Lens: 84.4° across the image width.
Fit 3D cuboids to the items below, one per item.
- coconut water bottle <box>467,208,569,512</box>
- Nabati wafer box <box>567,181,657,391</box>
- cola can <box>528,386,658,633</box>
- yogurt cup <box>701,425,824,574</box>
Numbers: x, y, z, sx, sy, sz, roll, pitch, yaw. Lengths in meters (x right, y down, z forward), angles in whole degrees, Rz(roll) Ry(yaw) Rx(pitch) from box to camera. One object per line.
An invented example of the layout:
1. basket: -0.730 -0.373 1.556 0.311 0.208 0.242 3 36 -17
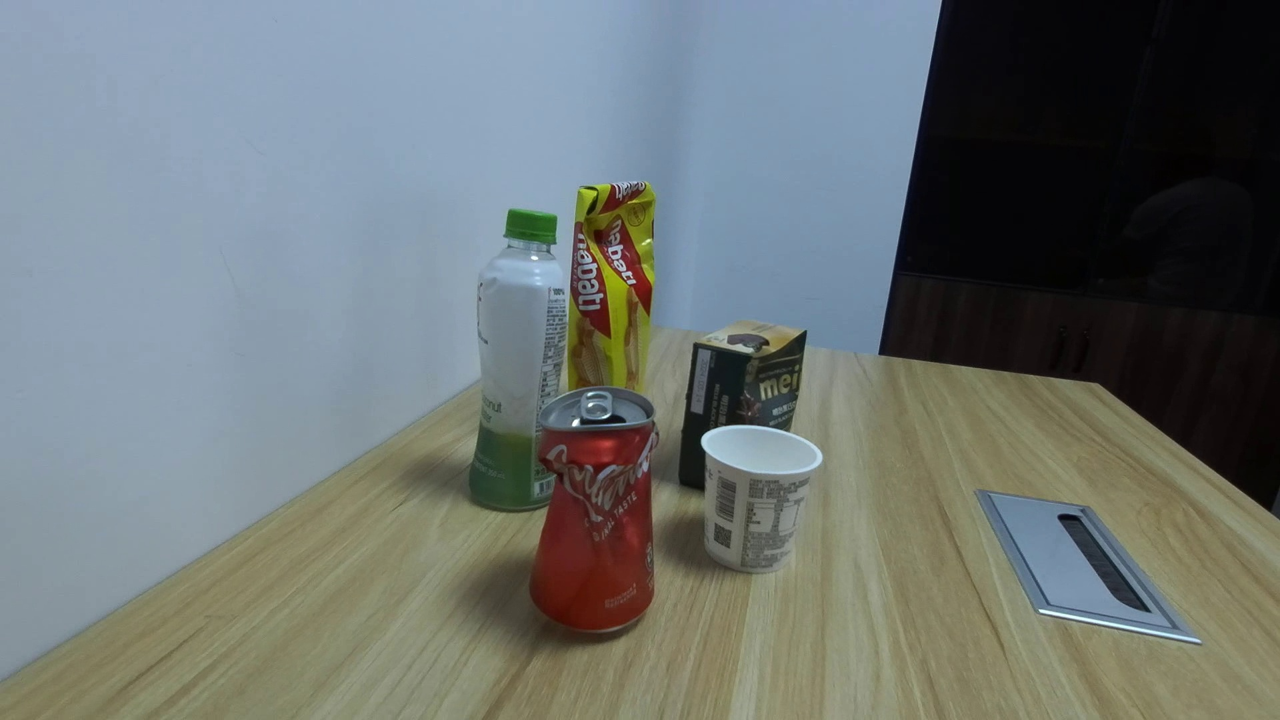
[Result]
1. coconut water bottle: -0.077 -0.001 0.457 0.069 0.187 0.069 4 14 -1
2. Nabati wafer box: -0.021 -0.040 0.582 0.042 0.205 0.113 8 17 16
3. cola can: -0.021 0.073 0.355 0.065 0.112 0.069 14 19 33
4. yogurt cup: 0.068 0.083 0.420 0.072 0.068 0.072 4 17 -1
